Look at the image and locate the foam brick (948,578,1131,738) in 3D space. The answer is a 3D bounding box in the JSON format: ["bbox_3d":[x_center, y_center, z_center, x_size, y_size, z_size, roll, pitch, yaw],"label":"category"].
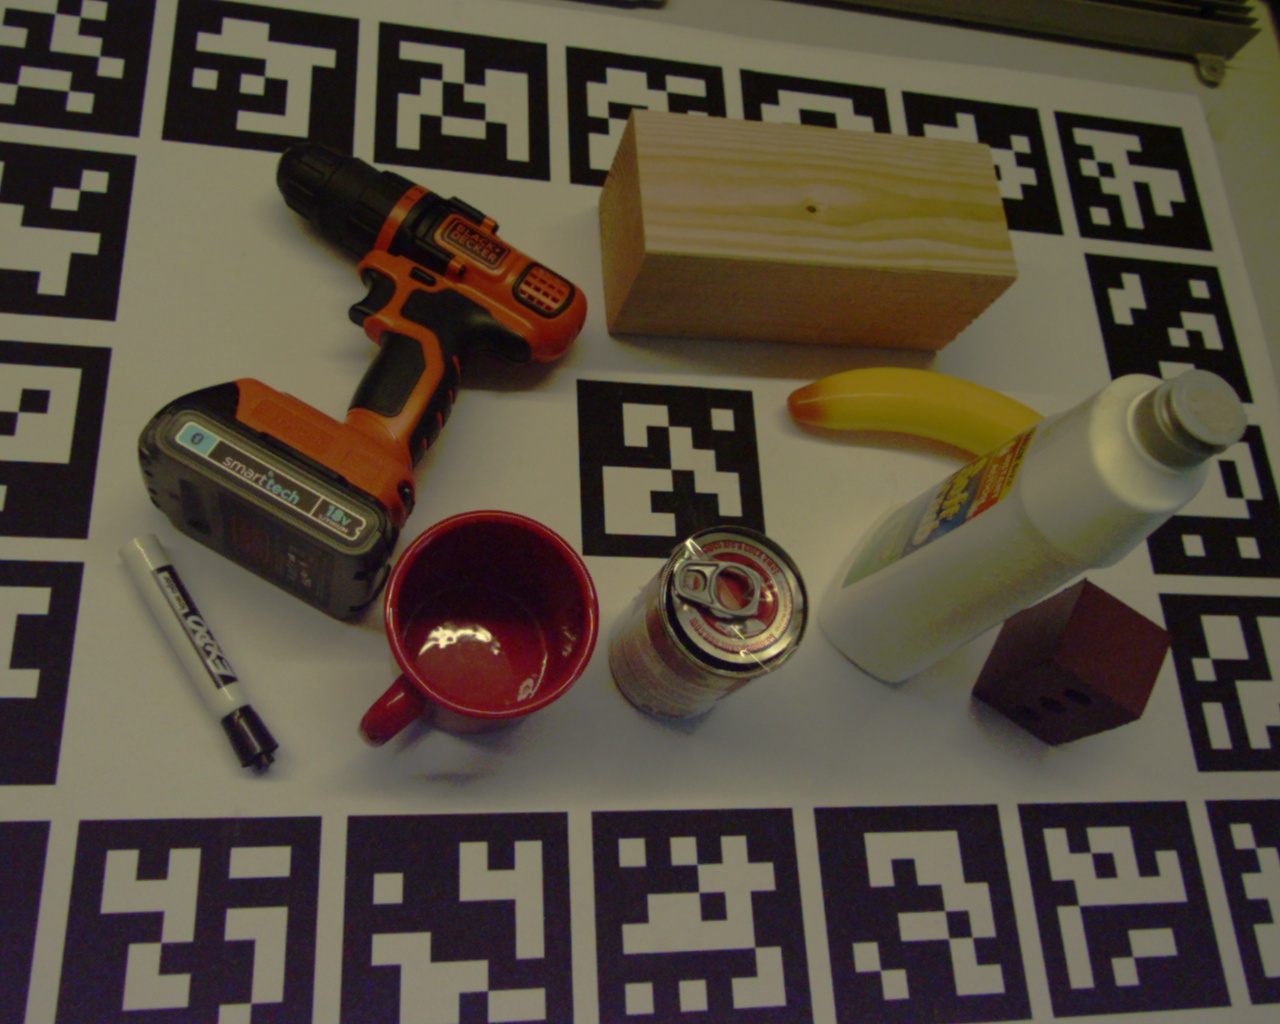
[{"bbox_3d":[0.215,0.081,0.619,0.053,0.078,0.051,33,63,2],"label":"foam brick"}]

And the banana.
[{"bbox_3d":[0.159,-0.055,0.676,0.196,0.039,0.074,17,79,-9],"label":"banana"}]

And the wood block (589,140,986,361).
[{"bbox_3d":[0.081,-0.148,0.669,0.205,0.091,0.090,1,70,-14],"label":"wood block"}]

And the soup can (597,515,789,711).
[{"bbox_3d":[0.022,0.053,0.560,0.067,0.102,0.068,6,64,-14],"label":"soup can"}]

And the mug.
[{"bbox_3d":[-0.086,0.060,0.547,0.093,0.082,0.116,42,68,2],"label":"mug"}]

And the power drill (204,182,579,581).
[{"bbox_3d":[-0.145,-0.072,0.604,0.184,0.057,0.186,30,64,-5],"label":"power drill"}]

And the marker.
[{"bbox_3d":[-0.206,0.071,0.550,0.019,0.020,0.121,-29,79,-20],"label":"marker"}]

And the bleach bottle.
[{"bbox_3d":[0.158,0.004,0.538,0.068,0.251,0.102,29,64,-2],"label":"bleach bottle"}]
